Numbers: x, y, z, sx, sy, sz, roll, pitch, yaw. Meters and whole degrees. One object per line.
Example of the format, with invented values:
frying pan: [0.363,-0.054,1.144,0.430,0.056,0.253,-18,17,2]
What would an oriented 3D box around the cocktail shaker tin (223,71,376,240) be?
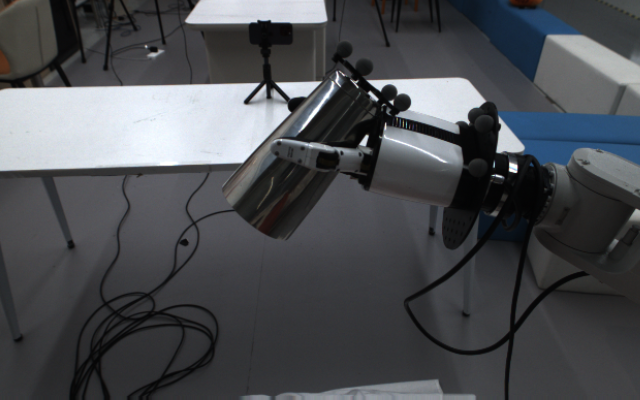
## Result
cocktail shaker tin: [-0.013,-0.054,0.511,0.093,0.170,0.093,41,12,-11]
